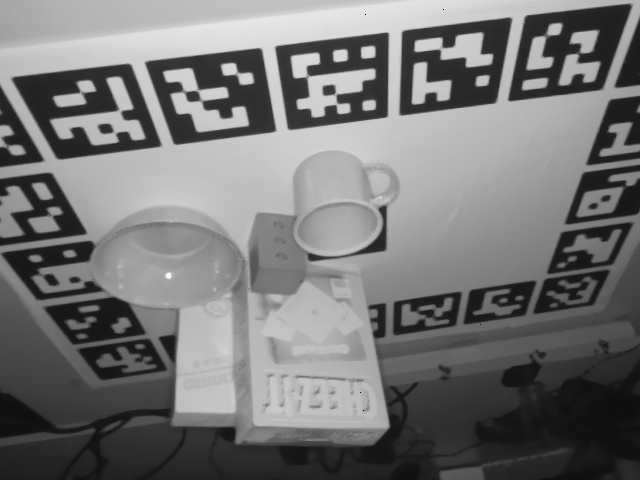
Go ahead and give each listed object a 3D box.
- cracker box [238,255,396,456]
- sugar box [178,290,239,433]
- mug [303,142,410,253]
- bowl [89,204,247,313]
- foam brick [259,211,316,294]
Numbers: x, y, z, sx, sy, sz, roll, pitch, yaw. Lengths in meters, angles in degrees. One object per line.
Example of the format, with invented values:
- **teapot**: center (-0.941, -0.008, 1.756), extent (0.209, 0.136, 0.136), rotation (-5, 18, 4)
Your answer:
- **cracker box**: center (-0.008, 0.131, 0.812), extent (0.166, 0.215, 0.071), rotation (14, 137, -24)
- **sugar box**: center (-0.119, 0.140, 0.827), extent (0.094, 0.177, 0.044), rotation (7, 137, -19)
- **mug**: center (0.039, -0.048, 0.708), extent (0.117, 0.082, 0.093), rotation (-14, 148, 3)
- **bowl**: center (-0.161, 0.012, 0.747), extent (0.162, 0.055, 0.160), rotation (-6, 139, -4)
- **foam brick**: center (-0.038, 0.014, 0.781), extent (0.053, 0.078, 0.050), rotation (3, 139, -15)
